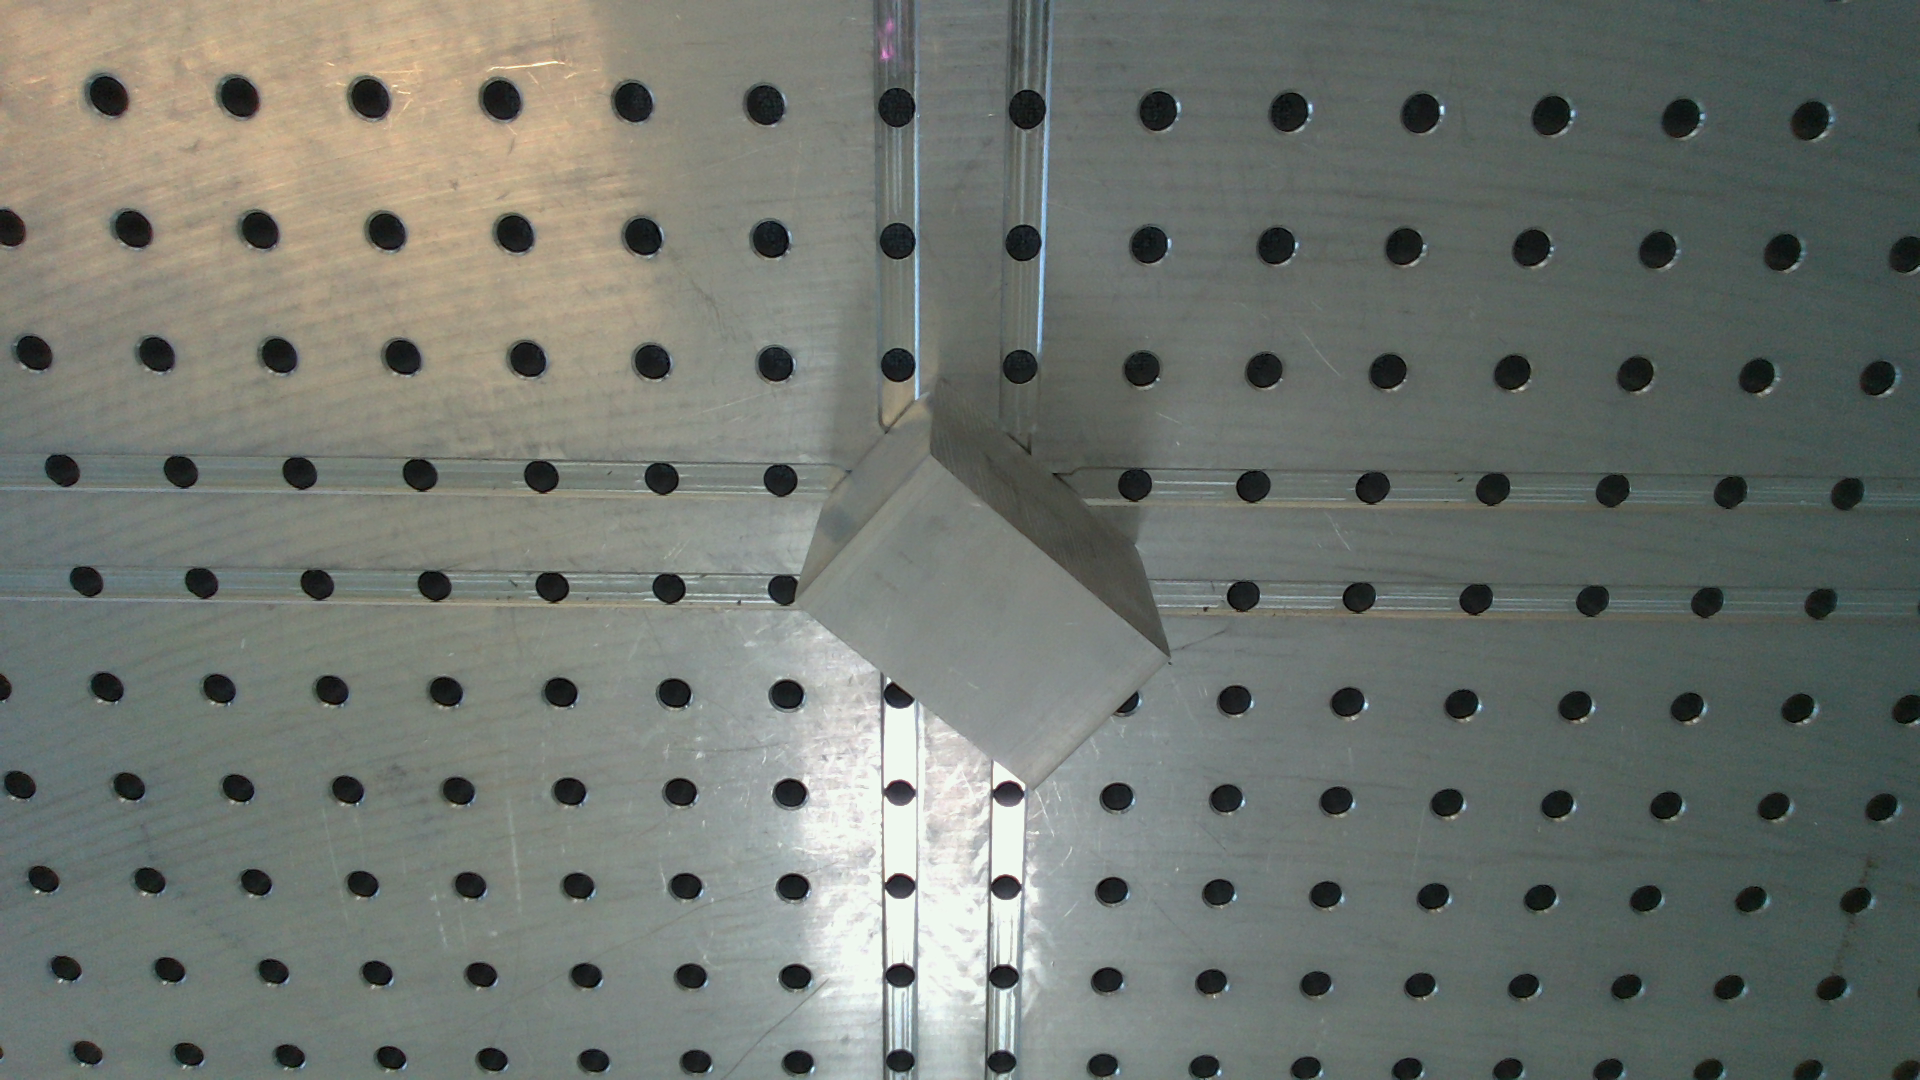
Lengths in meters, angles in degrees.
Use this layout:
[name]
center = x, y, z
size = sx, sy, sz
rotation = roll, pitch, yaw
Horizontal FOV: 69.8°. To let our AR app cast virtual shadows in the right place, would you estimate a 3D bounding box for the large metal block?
[large metal block]
center = 0.006, 0.008, 0.370
size = 0.080, 0.080, 0.050
rotation = 39, 106, -14
